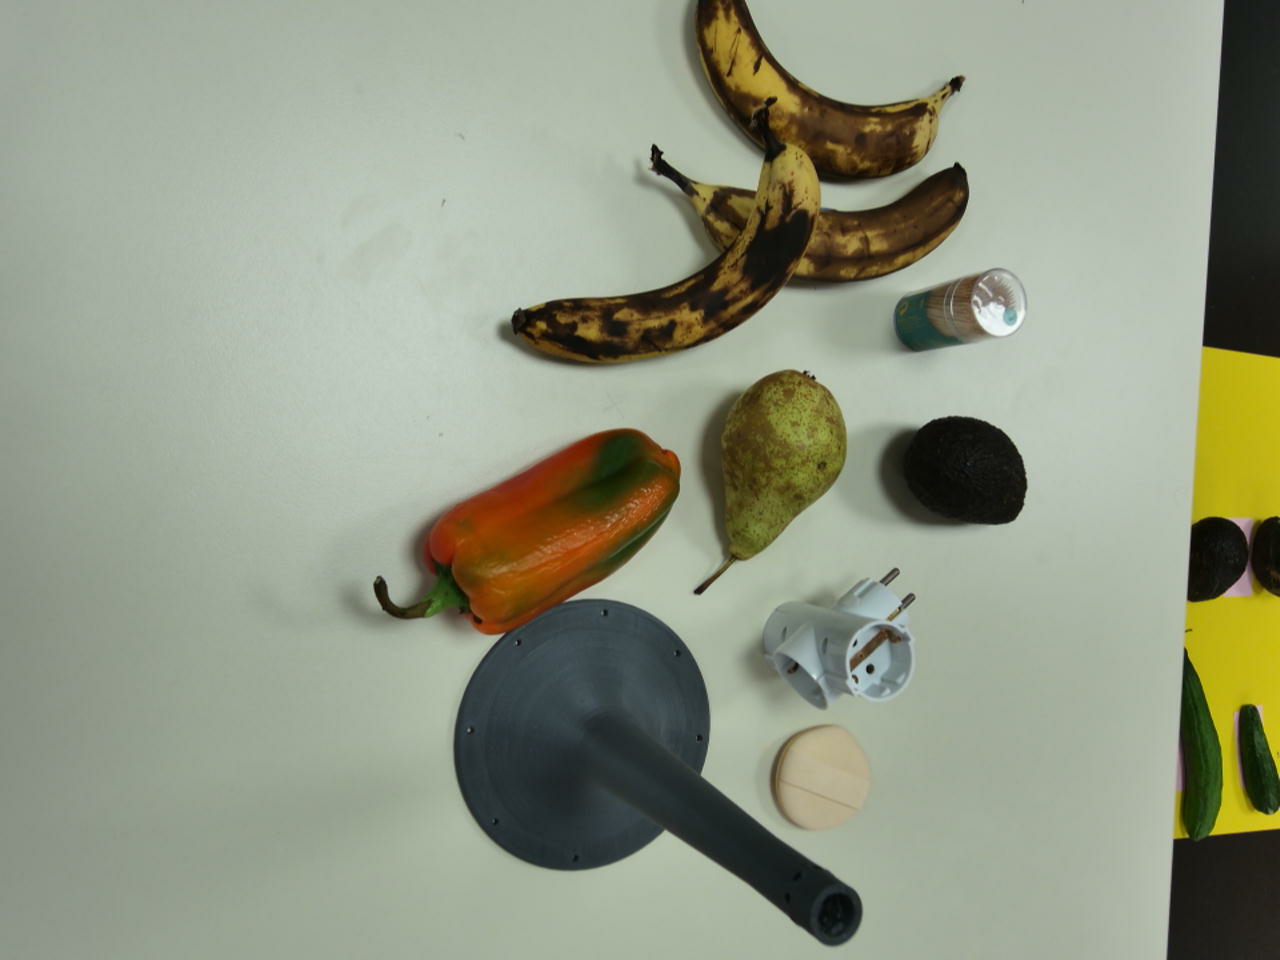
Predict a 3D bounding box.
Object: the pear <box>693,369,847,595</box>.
[{"bbox_3d":[0.081,0.001,0.572,0.071,0.075,0.128,-2,92,-22],"label":"pear"}]
